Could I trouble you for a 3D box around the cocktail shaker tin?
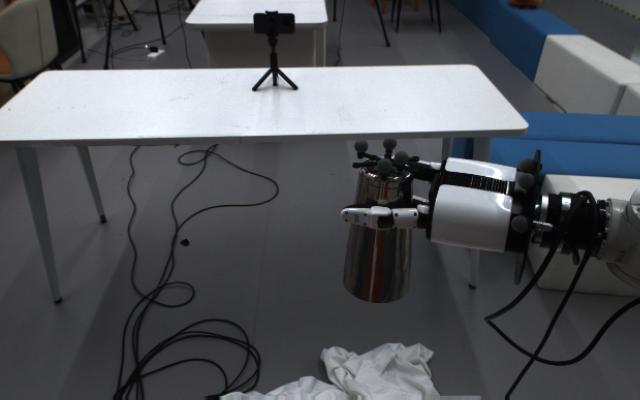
[{"bbox_3d":[0.082,0.034,0.632,0.093,0.170,0.093,1,27,-1],"label":"cocktail shaker tin"}]
